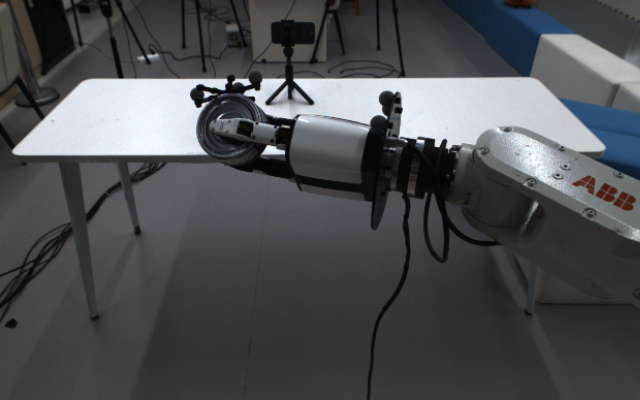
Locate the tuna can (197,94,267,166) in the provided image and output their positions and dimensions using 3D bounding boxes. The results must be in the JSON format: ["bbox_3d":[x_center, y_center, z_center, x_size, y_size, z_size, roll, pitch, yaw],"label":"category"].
[{"bbox_3d":[-0.103,-0.081,0.594,0.085,0.085,0.034,12,-6,14],"label":"tuna can"}]
